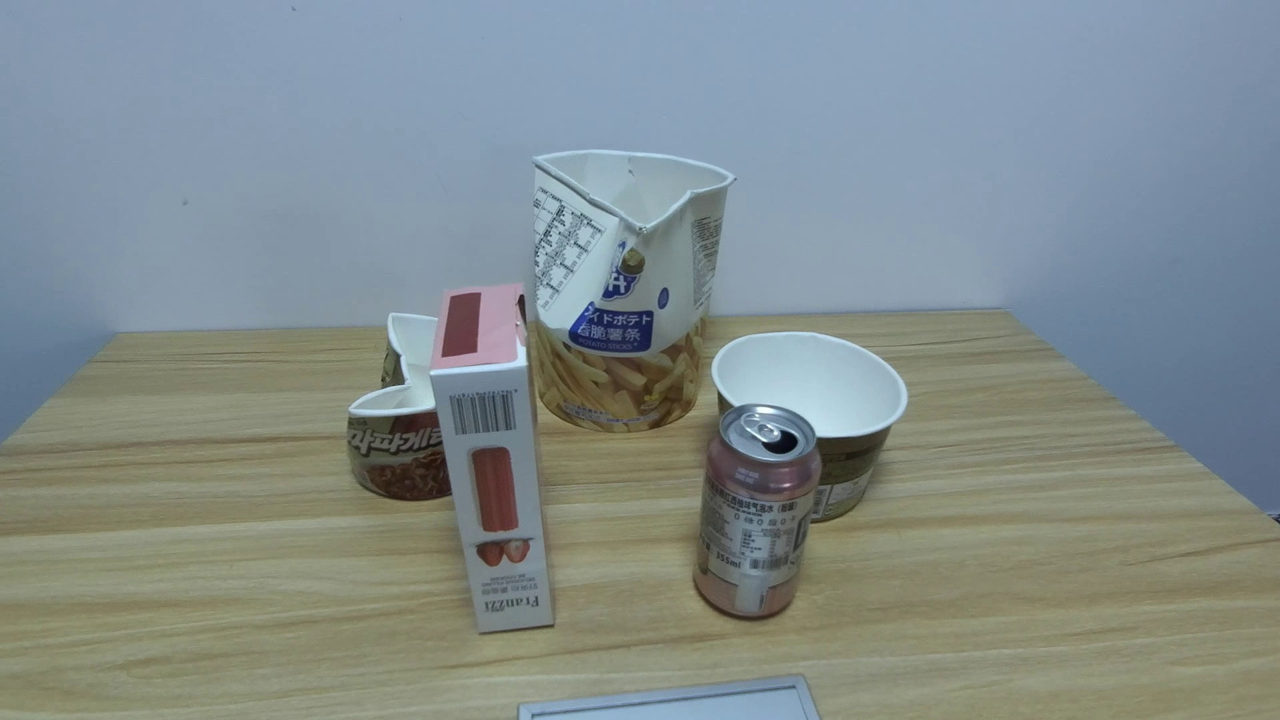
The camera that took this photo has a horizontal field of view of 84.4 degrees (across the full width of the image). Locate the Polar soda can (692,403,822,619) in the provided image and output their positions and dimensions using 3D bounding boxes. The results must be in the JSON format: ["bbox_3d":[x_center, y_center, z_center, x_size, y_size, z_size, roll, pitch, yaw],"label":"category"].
[{"bbox_3d":[0.070,0.092,0.428,0.067,0.125,0.067,2,30,-1],"label":"Polar soda can"}]

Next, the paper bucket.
[{"bbox_3d":[-0.024,-0.062,0.612,0.162,0.202,0.169,17,31,25],"label":"paper bucket"}]

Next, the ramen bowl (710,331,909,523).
[{"bbox_3d":[0.122,0.053,0.535,0.140,0.095,0.140,1,30,0],"label":"ramen bowl"}]

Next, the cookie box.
[{"bbox_3d":[-0.082,0.056,0.418,0.049,0.188,0.105,-5,31,-8],"label":"cookie box"}]

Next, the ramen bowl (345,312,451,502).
[{"bbox_3d":[-0.169,0.039,0.534,0.111,0.093,0.128,9,34,11],"label":"ramen bowl"}]
